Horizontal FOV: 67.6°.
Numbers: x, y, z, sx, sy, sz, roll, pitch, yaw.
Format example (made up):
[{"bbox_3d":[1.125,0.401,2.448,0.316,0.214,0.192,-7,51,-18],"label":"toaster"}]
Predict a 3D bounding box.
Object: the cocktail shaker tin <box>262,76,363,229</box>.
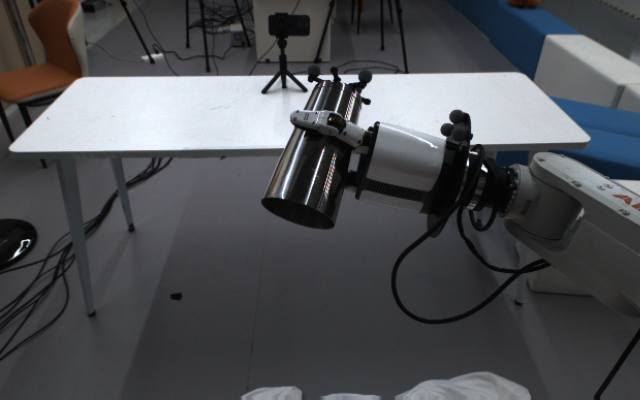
[{"bbox_3d":[-0.003,-0.060,0.599,0.093,0.093,0.170,13,70,15],"label":"cocktail shaker tin"}]
